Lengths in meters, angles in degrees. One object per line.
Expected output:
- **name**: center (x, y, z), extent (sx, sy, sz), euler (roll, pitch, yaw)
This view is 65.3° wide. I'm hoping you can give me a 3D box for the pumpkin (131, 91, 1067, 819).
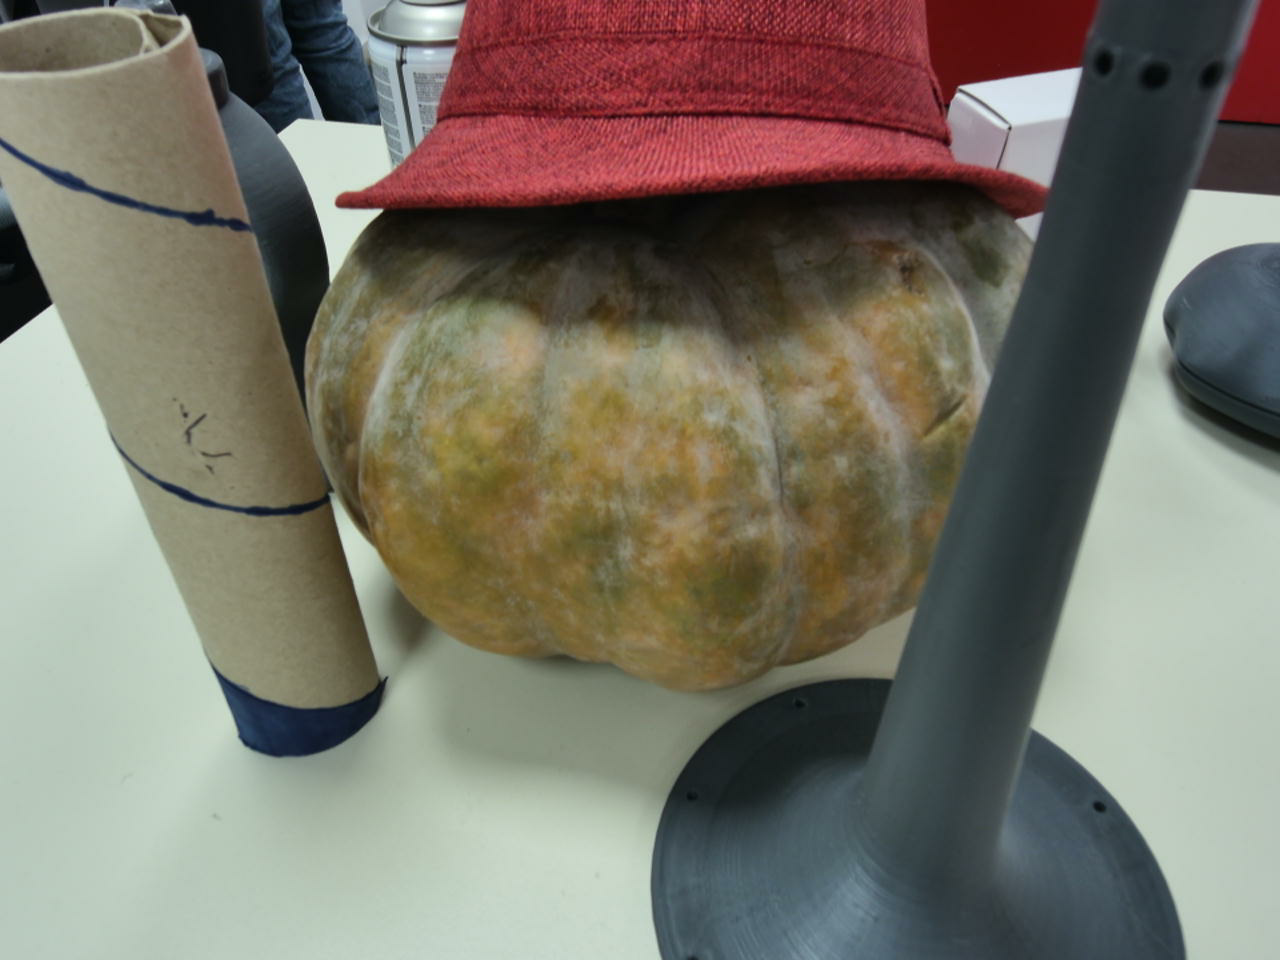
- **pumpkin**: center (0.007, -0.040, 0.357), extent (0.252, 0.169, 0.251), euler (0, 38, 0)
